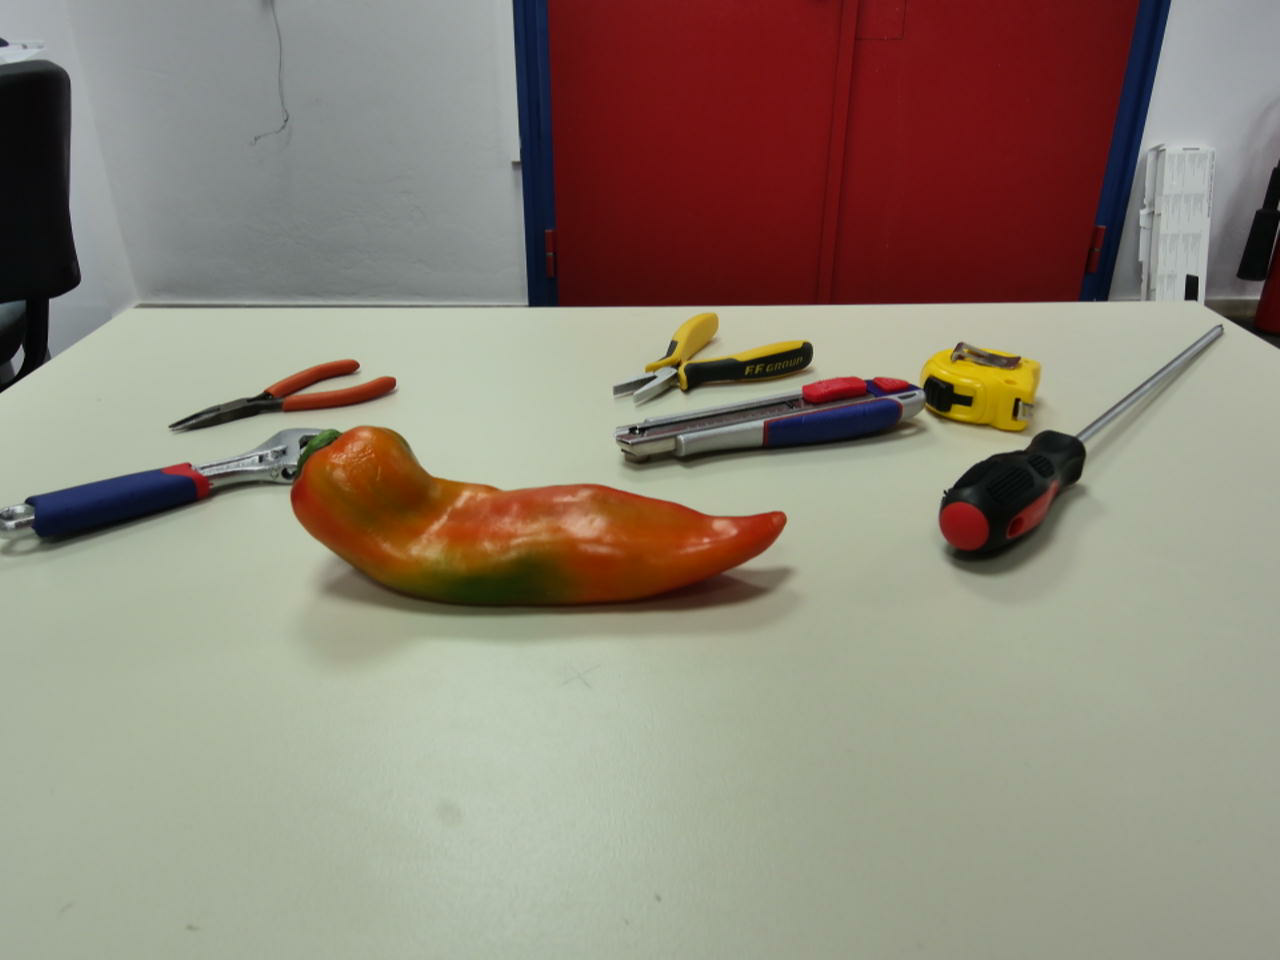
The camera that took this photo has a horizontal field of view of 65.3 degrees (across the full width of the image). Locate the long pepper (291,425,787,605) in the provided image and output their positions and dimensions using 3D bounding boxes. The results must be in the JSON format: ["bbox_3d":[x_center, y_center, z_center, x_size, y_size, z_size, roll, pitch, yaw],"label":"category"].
[{"bbox_3d":[-0.040,0.012,0.406,0.199,0.065,0.066,2,25,5],"label":"long pepper"}]
